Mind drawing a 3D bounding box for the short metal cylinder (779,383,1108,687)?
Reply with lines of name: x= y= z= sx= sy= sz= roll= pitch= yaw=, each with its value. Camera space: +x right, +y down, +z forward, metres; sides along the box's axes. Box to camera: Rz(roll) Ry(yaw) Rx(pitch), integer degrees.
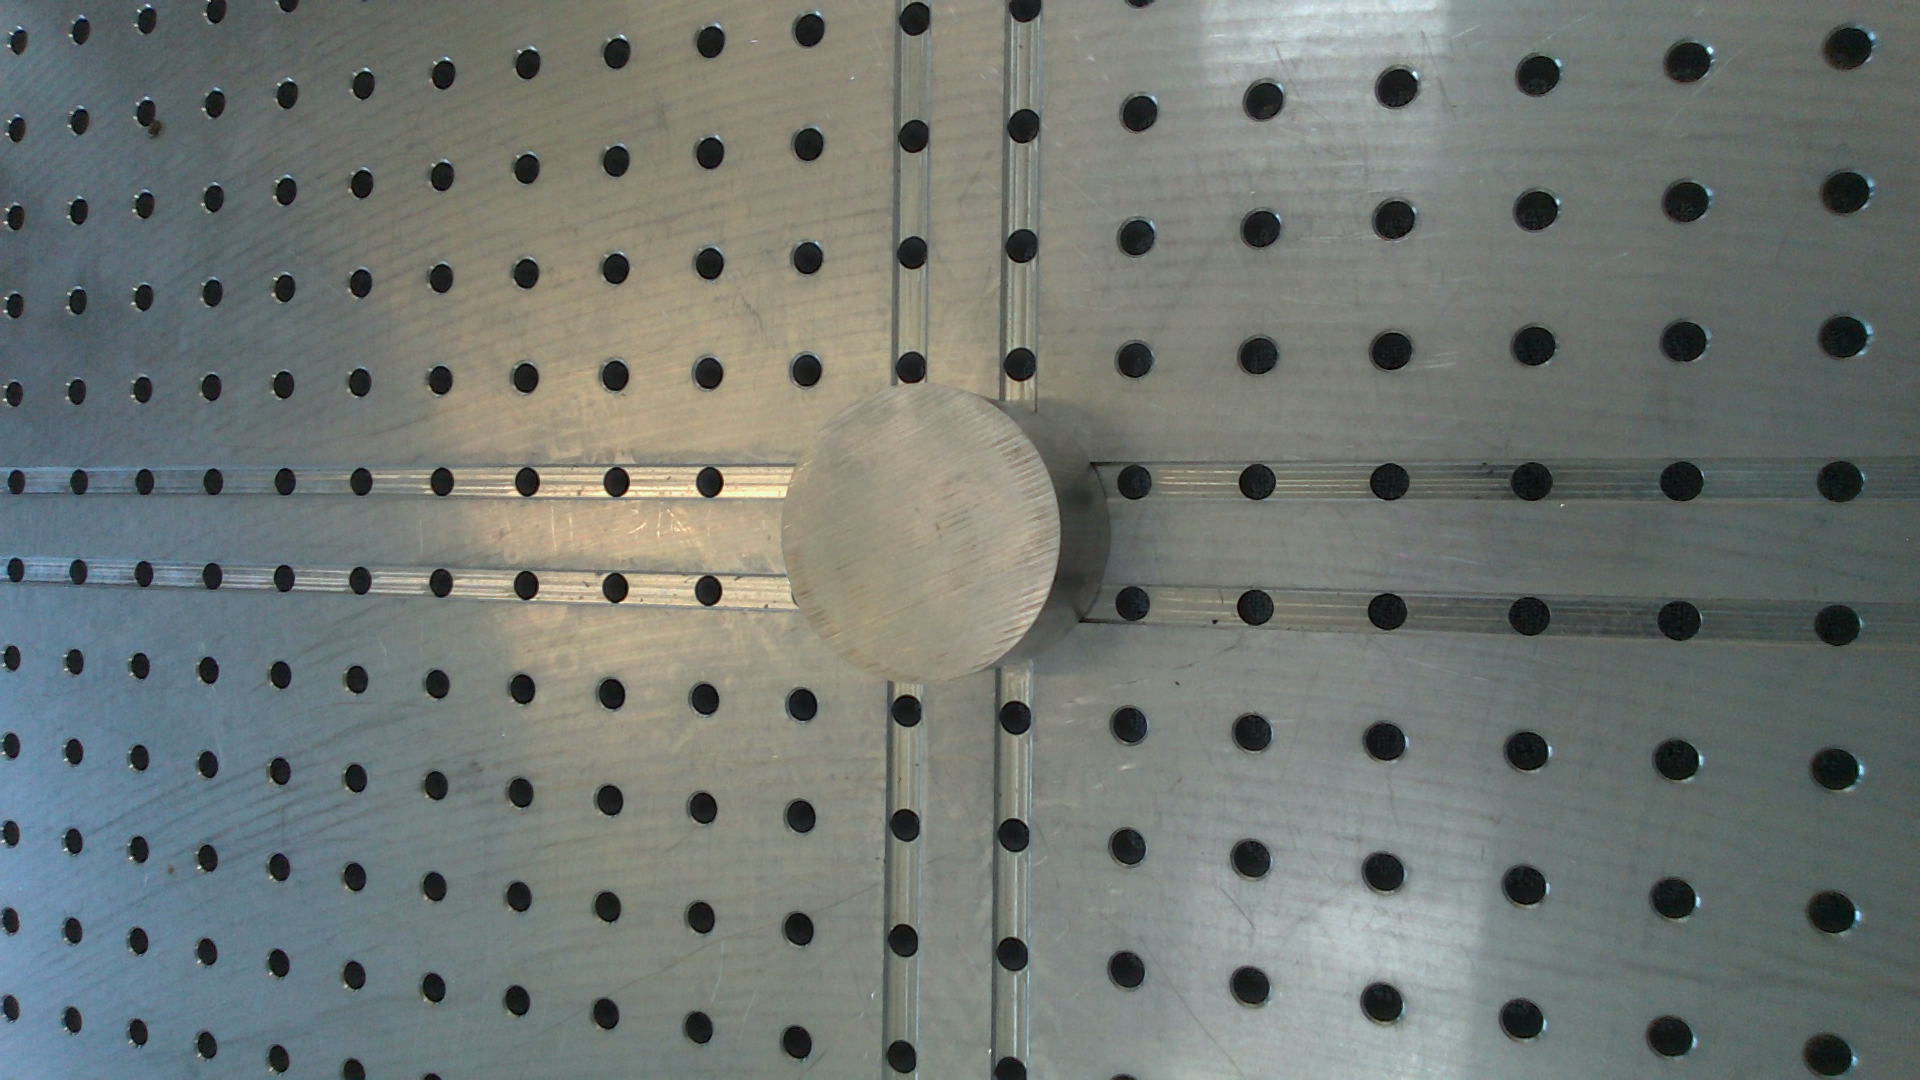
short metal cylinder: x=-0.003 y=-0.001 z=0.386 sx=0.080 sy=0.050 sz=0.080 roll=0 pitch=90 yaw=20
